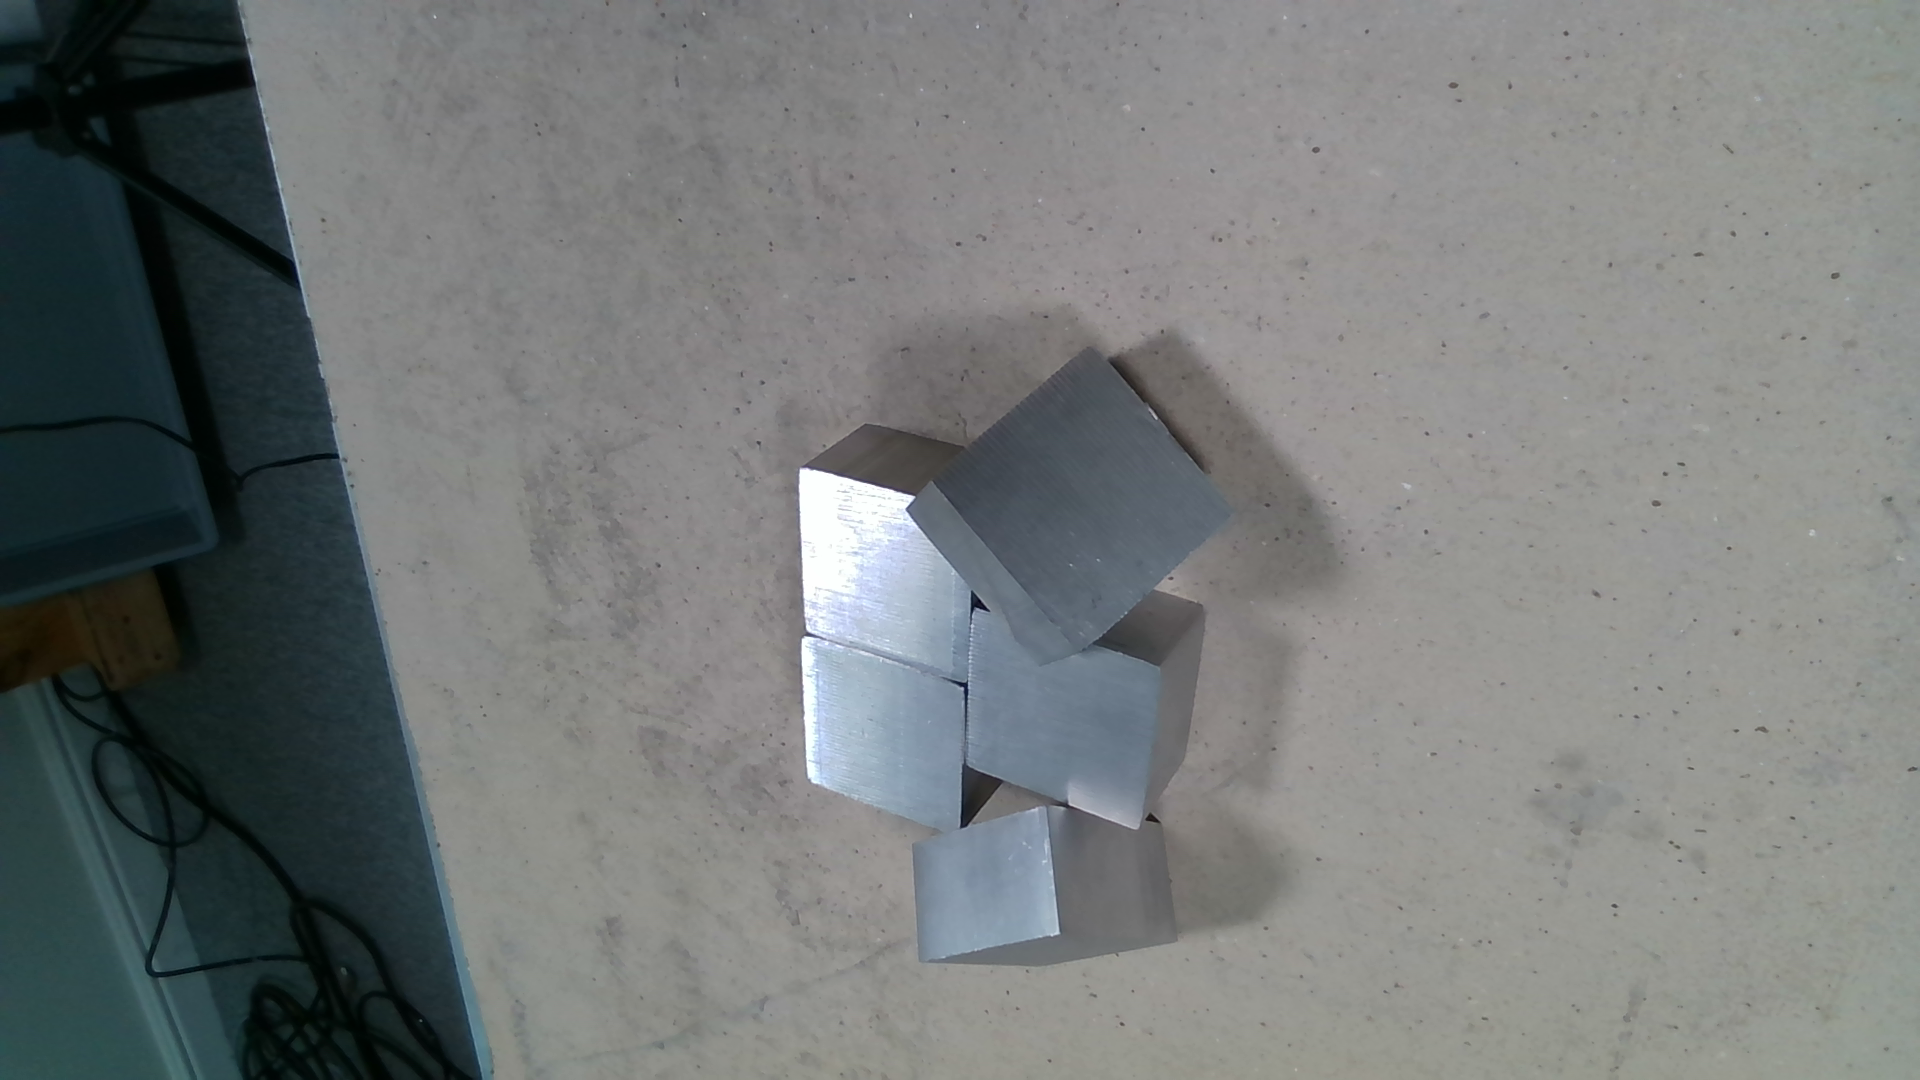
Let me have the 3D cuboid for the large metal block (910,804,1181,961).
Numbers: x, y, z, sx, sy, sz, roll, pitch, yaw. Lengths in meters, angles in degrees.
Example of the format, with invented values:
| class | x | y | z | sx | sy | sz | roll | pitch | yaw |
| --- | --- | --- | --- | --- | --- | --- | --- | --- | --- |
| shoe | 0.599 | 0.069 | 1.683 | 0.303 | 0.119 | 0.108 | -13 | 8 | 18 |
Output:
| class | x | y | z | sx | sy | sz | roll | pitch | yaw |
| --- | --- | --- | --- | --- | --- | --- | --- | --- | --- |
| large metal block | 0.036 | 0.152 | 0.598 | 0.080 | 0.080 | 0.050 | -24 | 60 | 38 |

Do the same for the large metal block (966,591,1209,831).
| class | x | y | z | sx | sy | sz | roll | pitch | yaw |
| --- | --- | --- | --- | --- | --- | --- | --- | --- | --- |
| large metal block | 0.051 | 0.061 | 0.566 | 0.080 | 0.050 | 0.080 | 17 | 123 | 23 |

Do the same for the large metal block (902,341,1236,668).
| class | x | y | z | sx | sy | sz | roll | pitch | yaw |
| --- | --- | --- | --- | --- | --- | --- | --- | --- | --- |
| large metal block | 0.039 | -0.011 | 0.506 | 0.080 | 0.080 | 0.050 | 49 | 164 | -1 |

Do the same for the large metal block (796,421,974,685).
| class | x | y | z | sx | sy | sz | roll | pitch | yaw |
| --- | --- | --- | --- | --- | --- | --- | --- | --- | --- |
| large metal block | -0.020 | 0.004 | 0.577 | 0.080 | 0.050 | 0.080 | 15 | 122 | 24 |

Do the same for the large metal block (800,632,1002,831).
| class | x | y | z | sx | sy | sz | roll | pitch | yaw |
| --- | --- | --- | --- | --- | --- | --- | --- | --- | --- |
| large metal block | -0.023 | 0.075 | 0.617 | 0.080 | 0.050 | 0.080 | 15 | 122 | 24 |
